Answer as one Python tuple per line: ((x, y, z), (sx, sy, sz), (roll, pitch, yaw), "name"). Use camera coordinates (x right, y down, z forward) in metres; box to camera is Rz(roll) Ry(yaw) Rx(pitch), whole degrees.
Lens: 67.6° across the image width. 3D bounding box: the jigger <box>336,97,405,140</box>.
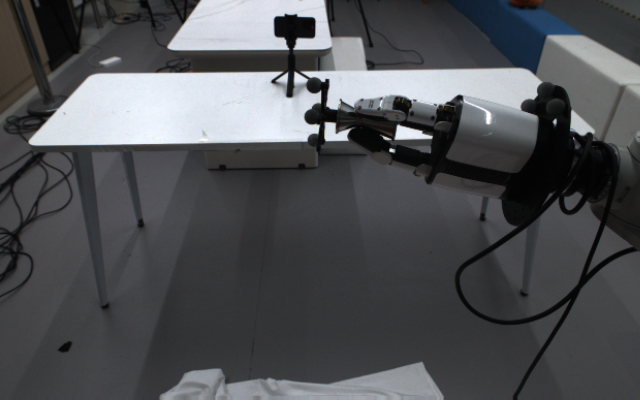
((0.061, -0.097, 0.564), (0.071, 0.043, 0.043), (5, 35, 3), "jigger")
